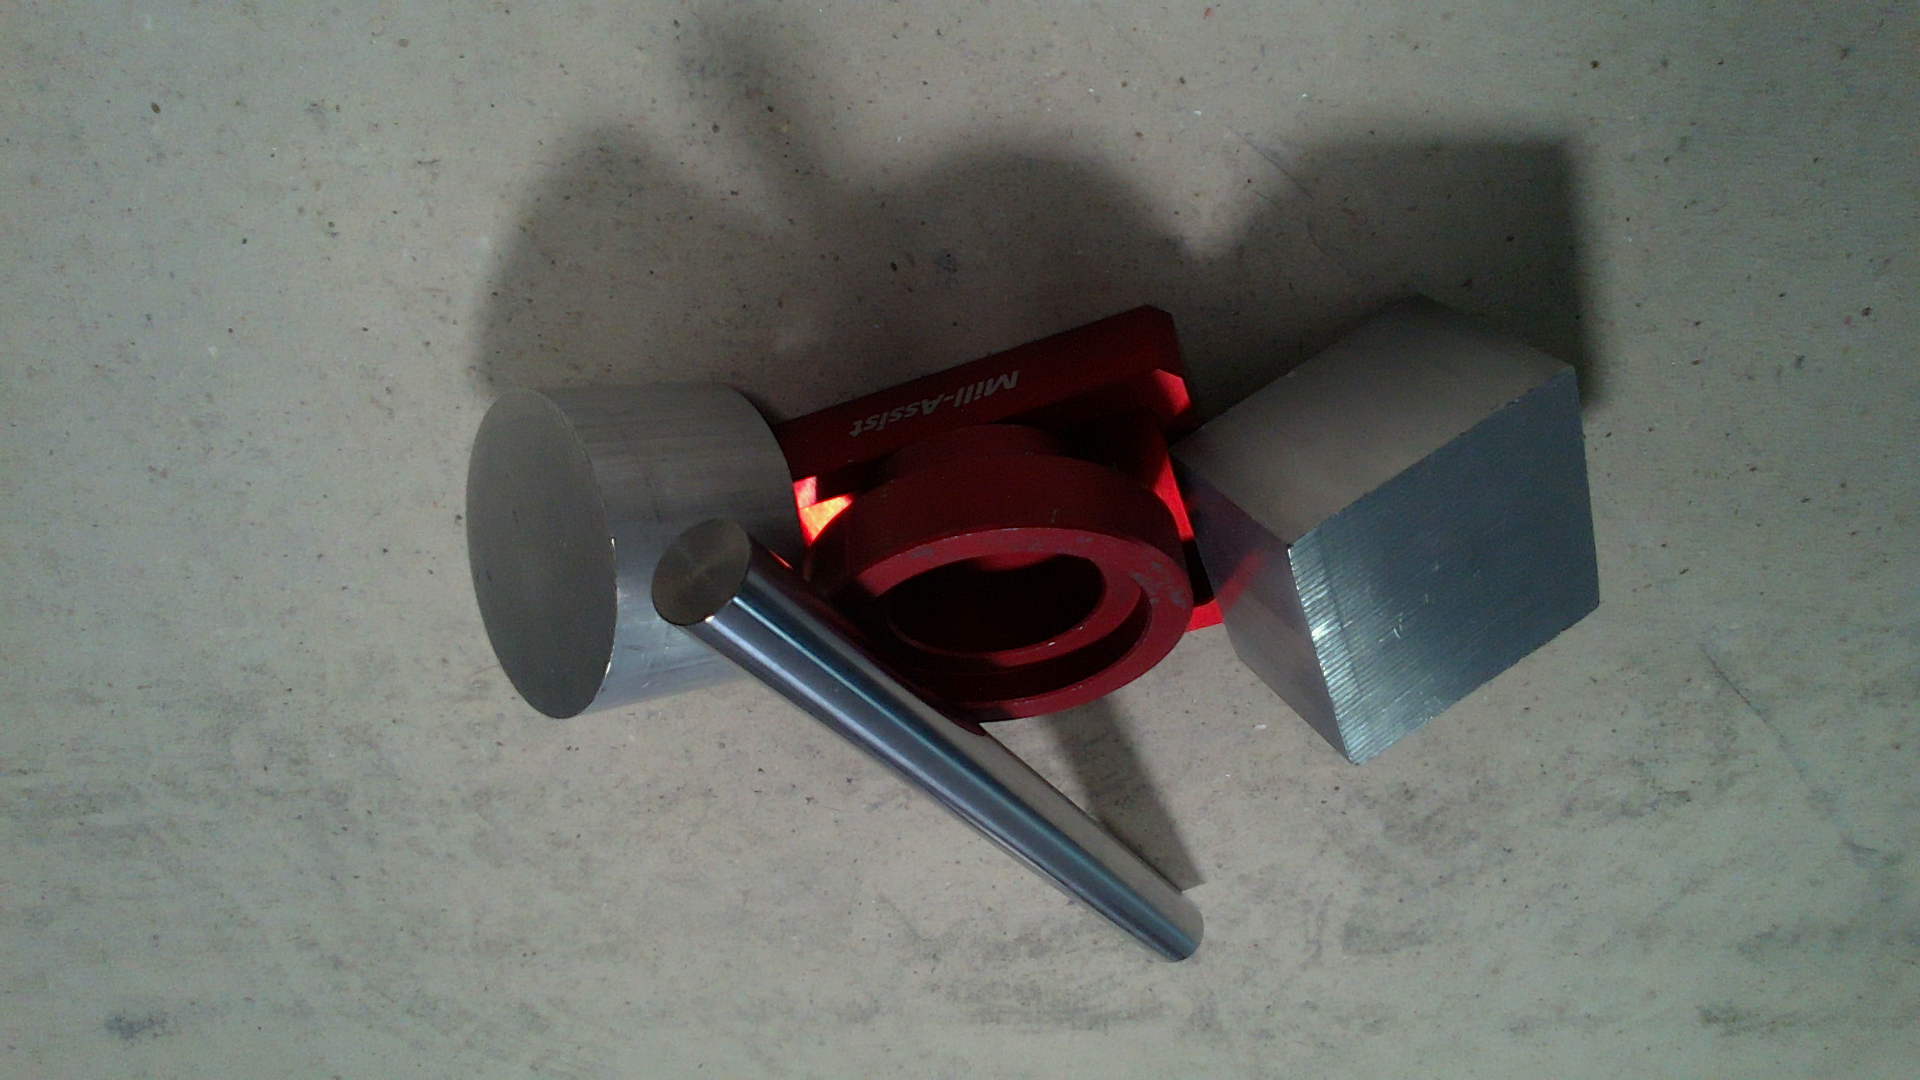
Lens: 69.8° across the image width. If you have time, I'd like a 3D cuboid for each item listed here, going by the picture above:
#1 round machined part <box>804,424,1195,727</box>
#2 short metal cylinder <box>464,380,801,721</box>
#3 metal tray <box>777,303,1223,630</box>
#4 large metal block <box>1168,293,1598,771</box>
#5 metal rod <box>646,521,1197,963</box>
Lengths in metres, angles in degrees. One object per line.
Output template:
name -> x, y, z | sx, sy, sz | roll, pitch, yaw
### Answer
round machined part -> 0.008, 0.007, 0.354 | 0.098, 0.042, 0.098 | -4, 145, -2
short metal cylinder -> -0.084, 0.001, 0.346 | 0.050, 0.080, 0.080 | -10, 142, -41
metal tray -> 0.009, -0.004, 0.384 | 0.130, 0.030, 0.090 | -16, 128, 13
large metal block -> 0.109, -0.002, 0.351 | 0.080, 0.050, 0.080 | -32, 128, -8
metal rod -> 0.012, 0.076, 0.398 | 0.025, 0.025, 0.301 | -21, 144, 17
